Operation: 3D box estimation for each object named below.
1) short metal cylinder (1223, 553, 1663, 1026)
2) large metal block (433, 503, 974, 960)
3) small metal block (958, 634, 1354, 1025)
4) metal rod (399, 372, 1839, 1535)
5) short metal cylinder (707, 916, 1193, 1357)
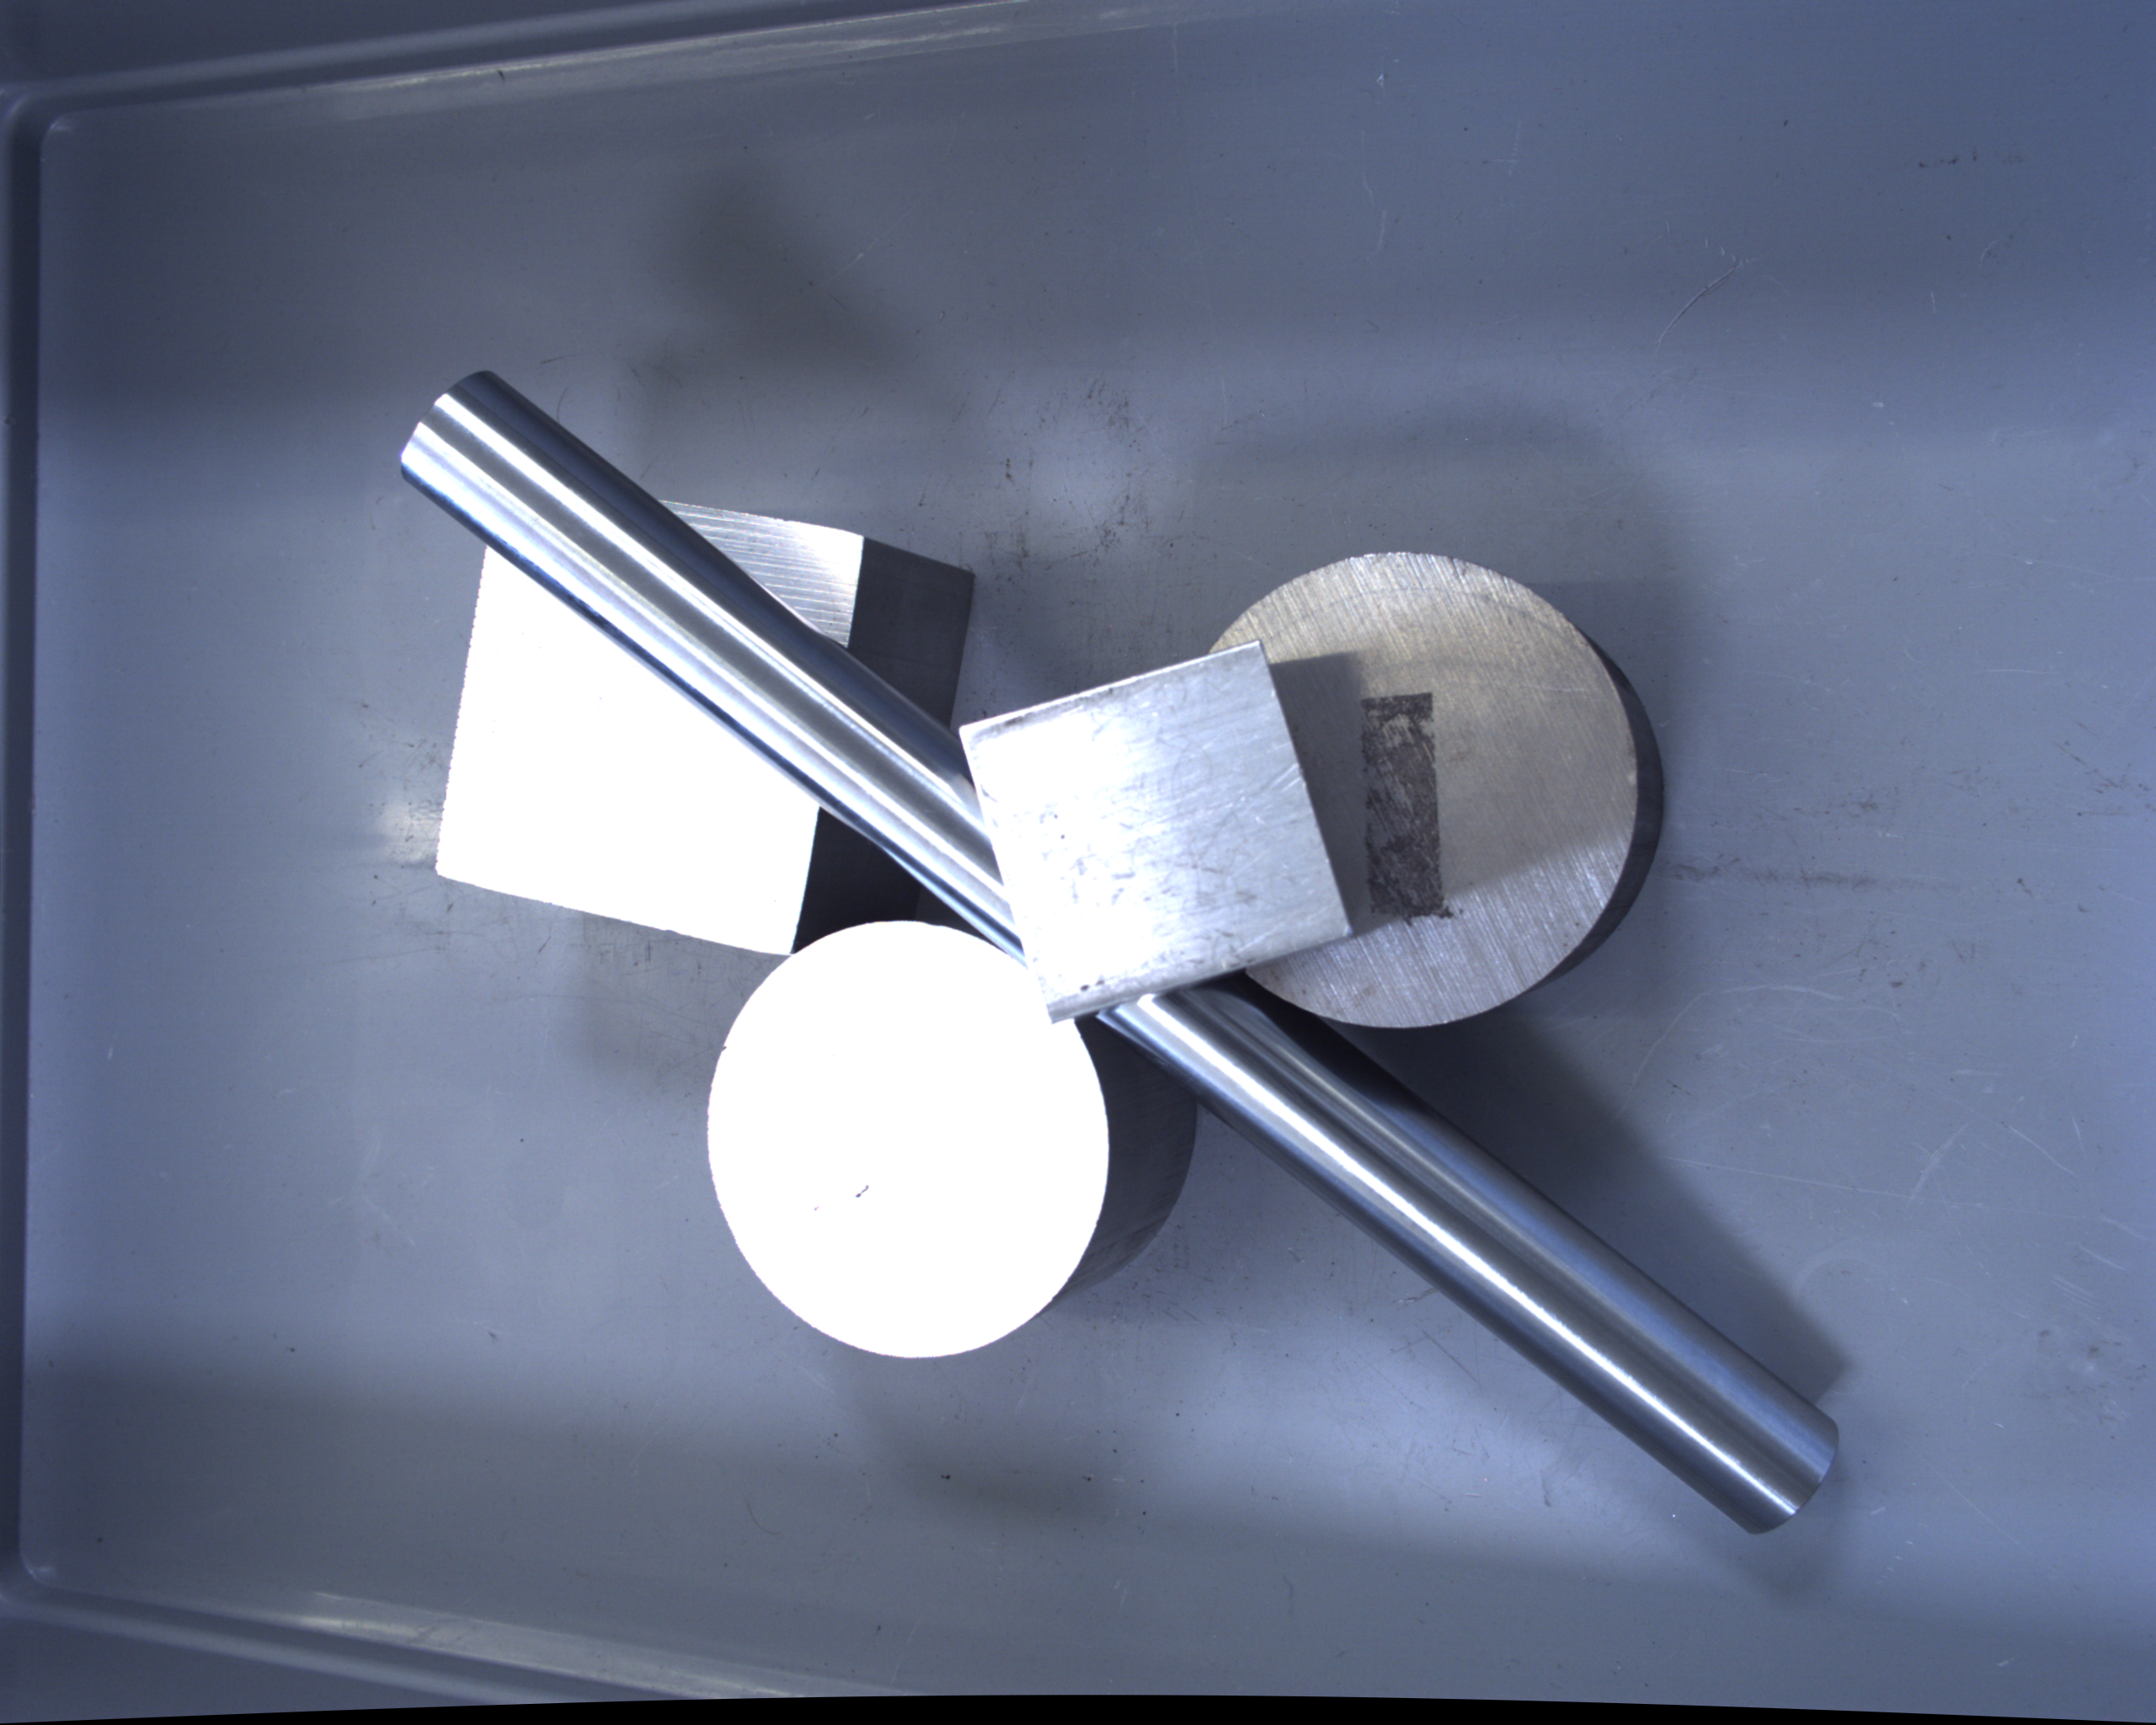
[{"bbox_3d":[0.061,-0.012,0.374,0.080,0.050,0.079,0,90,20],"label":"short metal cylinder"},{"bbox_3d":[-0.074,-0.029,0.419,0.080,0.050,0.079,12,94,19],"label":"large metal block"},{"bbox_3d":[0.013,-0.004,0.343,0.050,0.025,0.050,-17,84,1],"label":"small metal block"},{"bbox_3d":[0.006,0.015,0.369,0.300,0.025,0.025,38,103,1],"label":"metal rod"},{"bbox_3d":[-0.024,0.050,0.404,0.080,0.050,0.079,0,90,20],"label":"short metal cylinder"}]
